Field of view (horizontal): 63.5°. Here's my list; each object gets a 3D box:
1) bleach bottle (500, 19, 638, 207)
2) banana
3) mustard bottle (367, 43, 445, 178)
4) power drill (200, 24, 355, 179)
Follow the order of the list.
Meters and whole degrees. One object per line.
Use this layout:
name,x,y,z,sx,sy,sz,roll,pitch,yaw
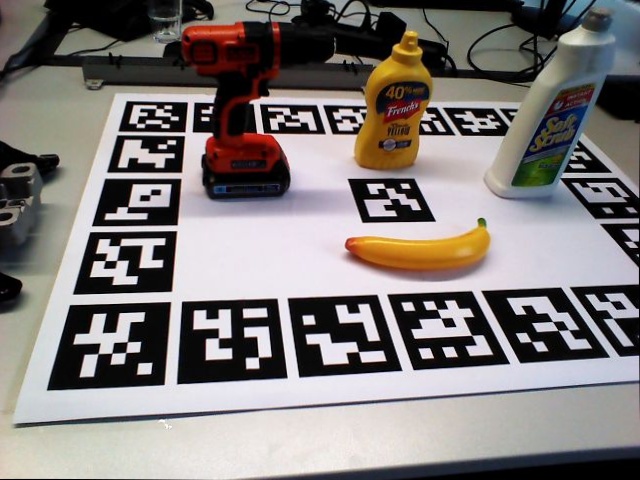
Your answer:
bleach bottle,0.331,-0.161,0.685,0.103,0.252,0.067,6,42,-3
banana,0.147,0.012,0.612,0.197,0.039,0.074,-6,45,-11
mustard bottle,0.131,-0.179,0.724,0.096,0.192,0.058,-5,43,-16
power drill,-0.047,-0.170,0.640,0.184,0.188,0.057,-7,44,-10
